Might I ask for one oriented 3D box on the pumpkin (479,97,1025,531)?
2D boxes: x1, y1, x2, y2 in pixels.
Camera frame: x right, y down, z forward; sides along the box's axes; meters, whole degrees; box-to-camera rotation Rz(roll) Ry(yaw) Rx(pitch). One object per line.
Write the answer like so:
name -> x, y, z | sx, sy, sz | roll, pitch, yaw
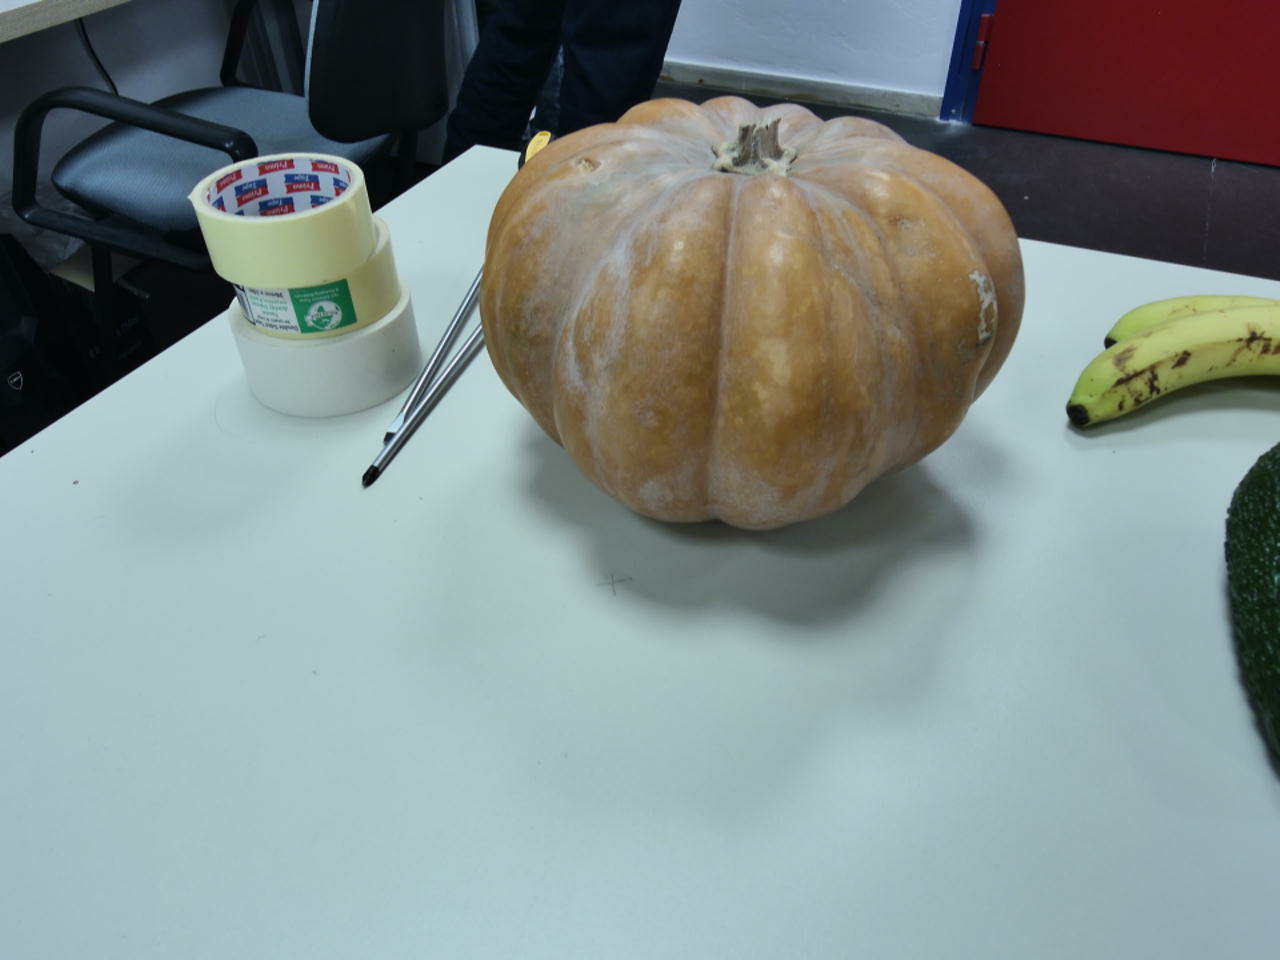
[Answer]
pumpkin -> 0.050, -0.093, 0.514 | 0.277, 0.181, 0.277 | 0, 38, 0
